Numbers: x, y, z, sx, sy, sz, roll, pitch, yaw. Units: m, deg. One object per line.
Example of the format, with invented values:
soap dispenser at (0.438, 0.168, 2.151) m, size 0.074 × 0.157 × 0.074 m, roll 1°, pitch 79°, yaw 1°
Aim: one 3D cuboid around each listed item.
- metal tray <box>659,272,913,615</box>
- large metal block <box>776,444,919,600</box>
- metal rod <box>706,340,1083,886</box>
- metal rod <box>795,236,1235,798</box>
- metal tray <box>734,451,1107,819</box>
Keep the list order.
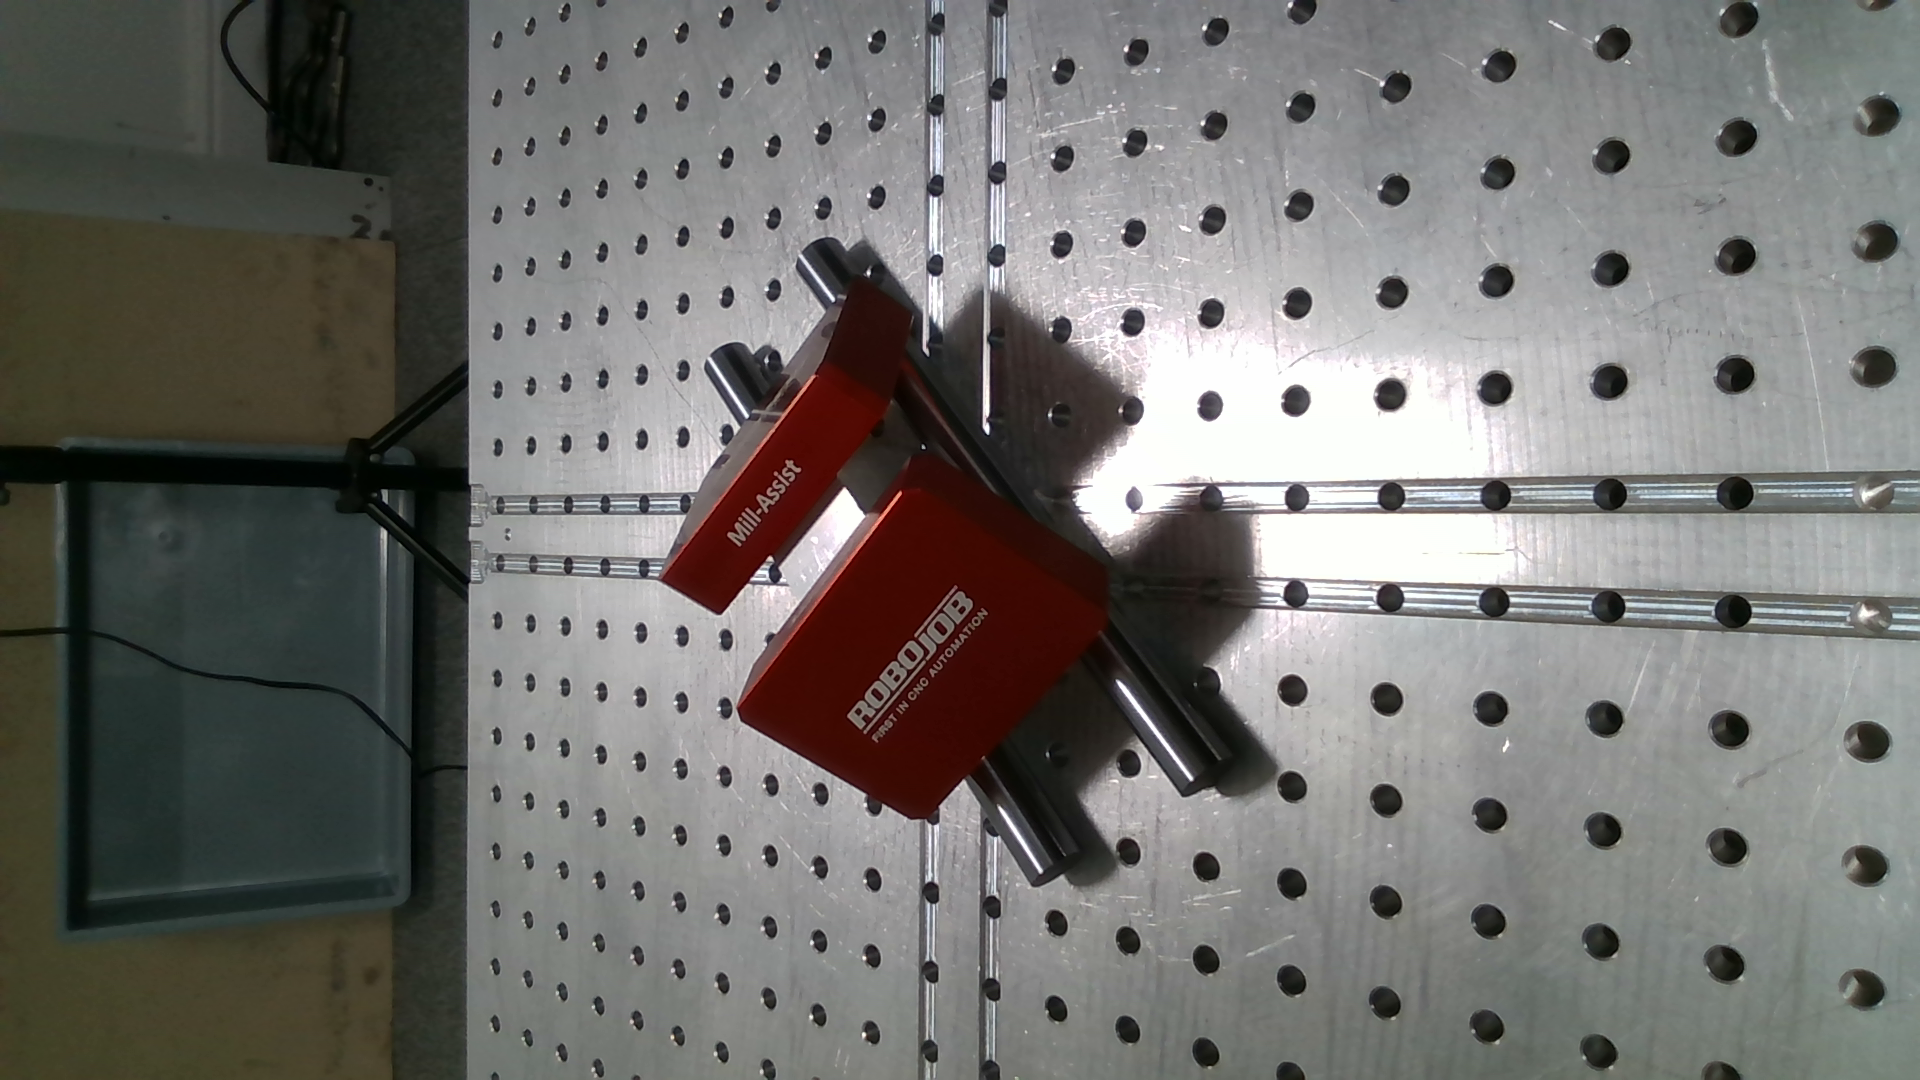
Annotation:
metal tray at (-0.073, -0.040, 0.575) m, size 0.130 × 0.030 × 0.090 m, roll -48°, pitch 18°, yaw 30°
large metal block at (-0.026, 0.007, 0.570) m, size 0.050 × 0.080 × 0.080 m, roll -50°, pitch 61°, yaw 29°
metal rod at (-0.038, 0.021, 0.618) m, size 0.025 × 0.025 × 0.299 m, roll -50°, pitch 61°, yaw 29°
metal rod at (0.013, -0.022, 0.574) m, size 0.025 × 0.025 × 0.299 m, roll -51°, pitch 60°, yaw 28°
metal tray at (-0.016, 0.040, 0.528) m, size 0.090 × 0.030 × 0.130 m, roll 32°, pitch 119°, yaw -12°
